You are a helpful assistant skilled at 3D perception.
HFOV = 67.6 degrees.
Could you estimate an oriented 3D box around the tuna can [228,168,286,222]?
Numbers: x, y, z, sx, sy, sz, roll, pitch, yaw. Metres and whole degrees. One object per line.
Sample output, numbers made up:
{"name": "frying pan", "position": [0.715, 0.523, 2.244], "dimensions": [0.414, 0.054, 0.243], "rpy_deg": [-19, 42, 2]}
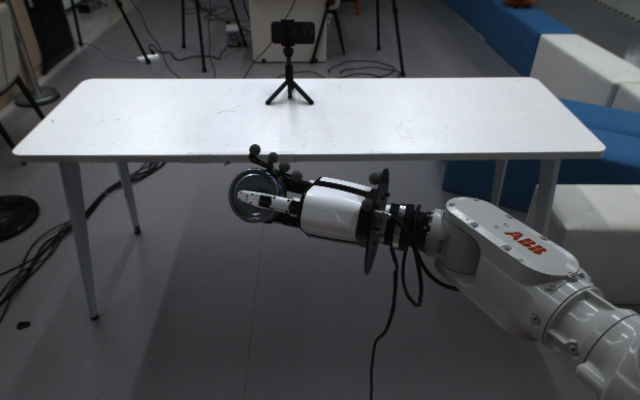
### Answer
{"name": "tuna can", "position": [-0.094, -0.001, 0.746], "dimensions": [0.085, 0.085, 0.034], "rpy_deg": [12, 4, 14]}
